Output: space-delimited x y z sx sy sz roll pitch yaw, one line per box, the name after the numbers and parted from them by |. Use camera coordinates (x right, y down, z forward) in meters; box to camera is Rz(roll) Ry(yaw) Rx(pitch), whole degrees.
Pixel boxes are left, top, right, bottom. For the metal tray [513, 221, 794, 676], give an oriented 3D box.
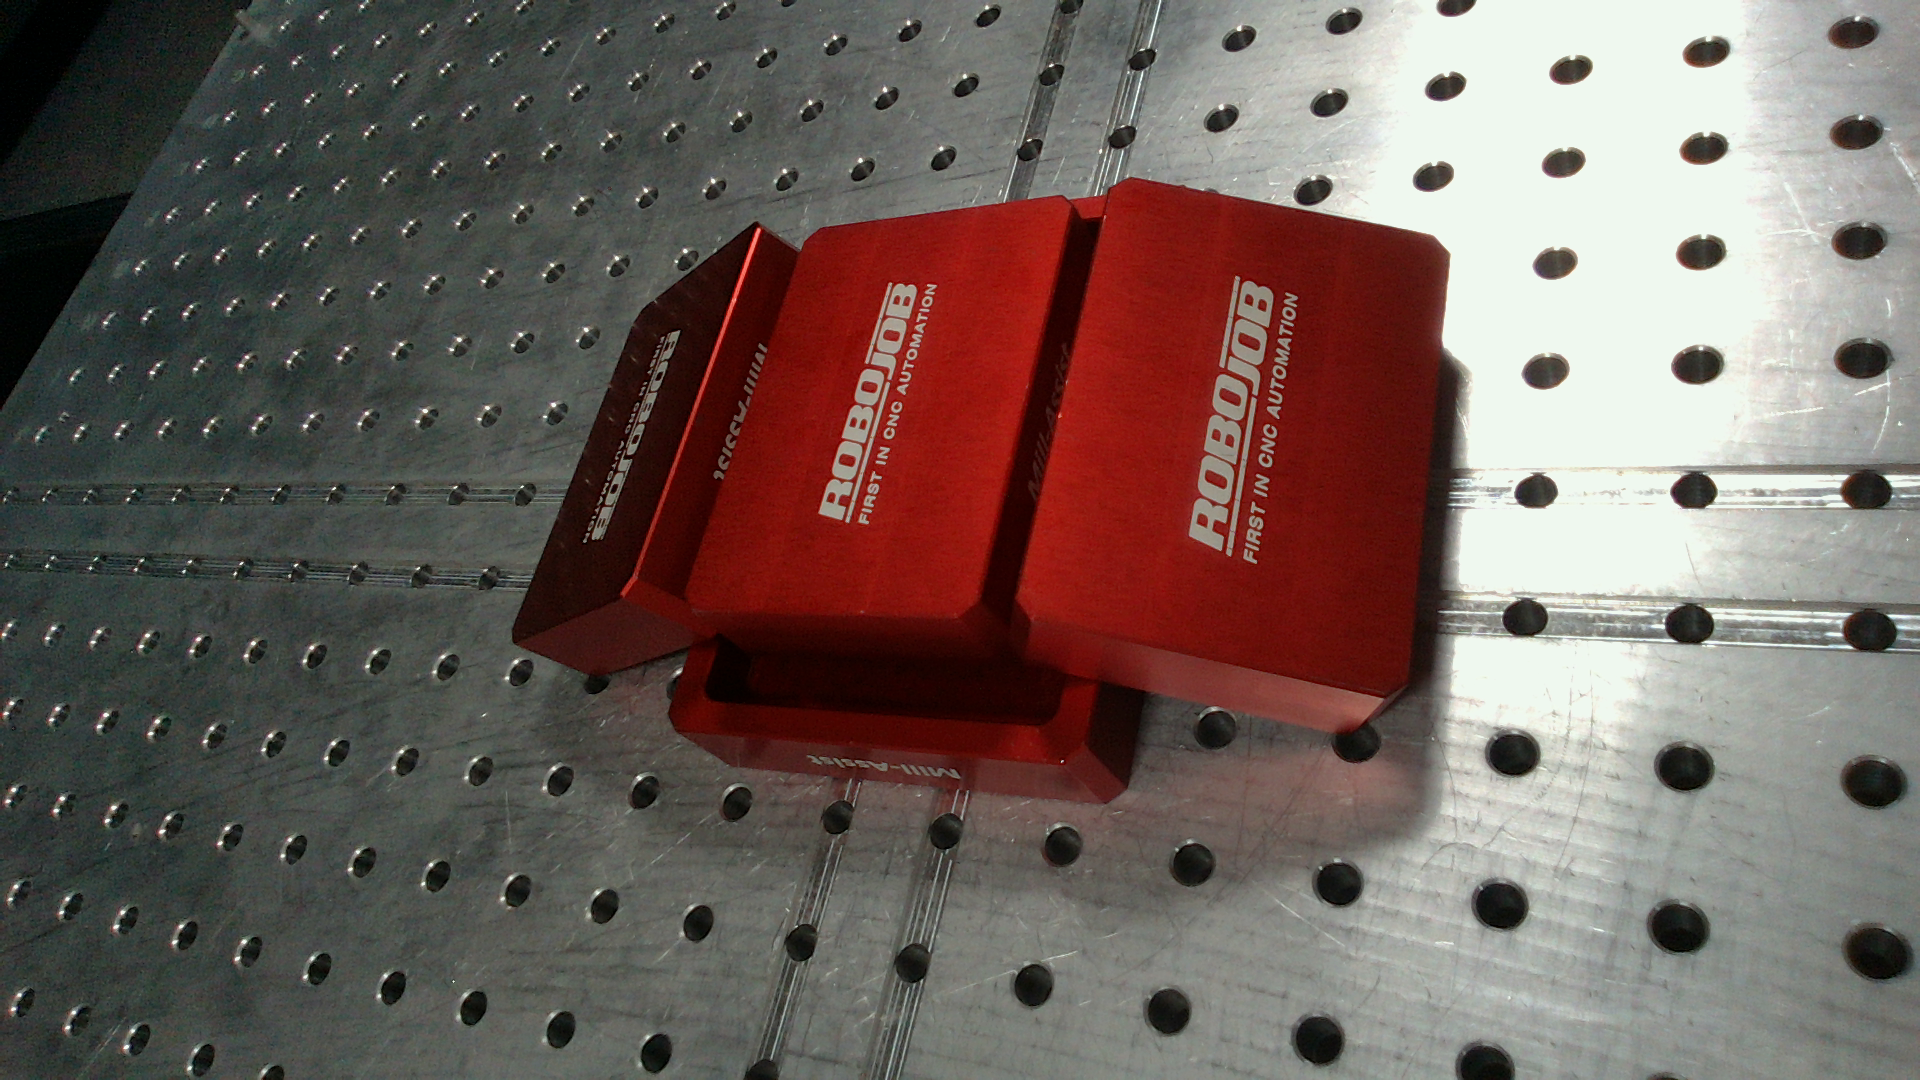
-0.091 -0.027 0.437 0.090 0.030 0.130 -20 49 50 | metal tray

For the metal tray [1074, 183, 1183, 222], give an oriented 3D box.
0.009 -0.059 0.425 0.130 0.030 0.090 0 62 29 | metal tray

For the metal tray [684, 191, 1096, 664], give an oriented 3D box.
-0.015 -0.032 0.382 0.090 0.030 0.130 -1 61 28 | metal tray

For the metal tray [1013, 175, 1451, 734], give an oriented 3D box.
0.070 -0.025 0.347 0.090 0.030 0.130 12 65 4 | metal tray

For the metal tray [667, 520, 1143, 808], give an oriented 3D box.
-0.011 0.022 0.387 0.130 0.030 0.090 0 62 29 | metal tray
